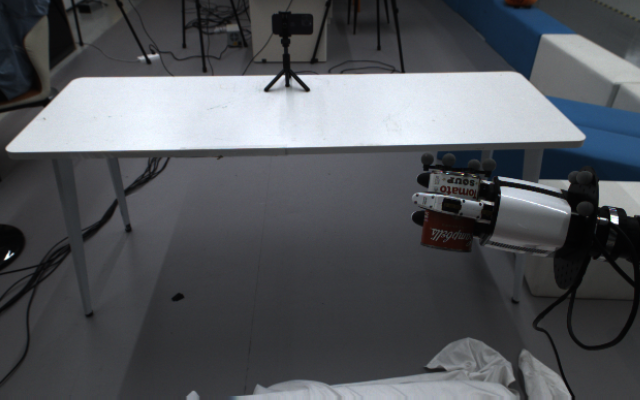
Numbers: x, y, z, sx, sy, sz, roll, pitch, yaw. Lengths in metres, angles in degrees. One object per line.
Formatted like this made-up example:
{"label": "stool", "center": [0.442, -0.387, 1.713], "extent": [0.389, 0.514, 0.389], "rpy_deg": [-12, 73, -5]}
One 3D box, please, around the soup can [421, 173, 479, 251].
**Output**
{"label": "soup can", "center": [0.177, 0.014, 0.649], "extent": [0.067, 0.101, 0.067], "rpy_deg": [7, 3, 0]}
